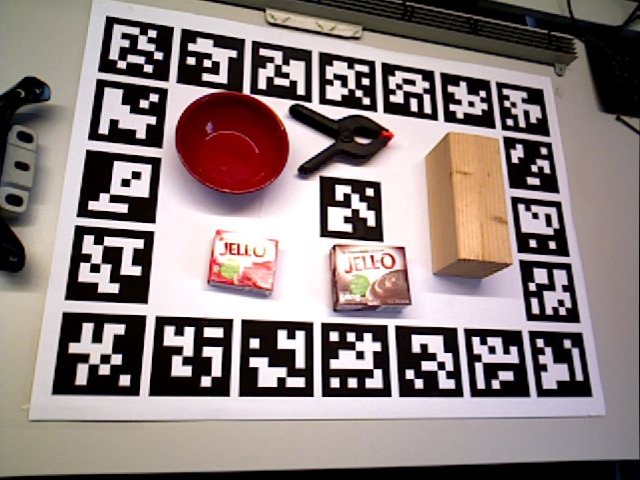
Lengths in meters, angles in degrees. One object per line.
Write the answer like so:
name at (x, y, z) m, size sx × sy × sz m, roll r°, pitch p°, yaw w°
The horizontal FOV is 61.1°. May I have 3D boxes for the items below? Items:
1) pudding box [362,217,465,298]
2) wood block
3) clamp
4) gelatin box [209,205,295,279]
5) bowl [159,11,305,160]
pudding box at (0.107, 0.020, 0.626) m, size 0.113 × 0.038 × 0.090 m, roll 1°, pitch 93°, yaw 1°
wood block at (0.269, -0.093, 0.602) m, size 0.089 × 0.091 × 0.207 m, roll 4°, pitch 90°, yaw -2°
clamp at (0.064, -0.207, 0.635) m, size 0.164 × 0.036 × 0.122 m, roll -9°, pitch 90°, yaw -3°
gelatin box at (-0.078, 0.003, 0.627) m, size 0.089 × 0.030 × 0.073 m, roll 10°, pitch 91°, yaw -1°
bowl at (-0.098, -0.170, 0.622) m, size 0.161 × 0.055 × 0.162 m, roll 0°, pitch 92°, yaw -2°
